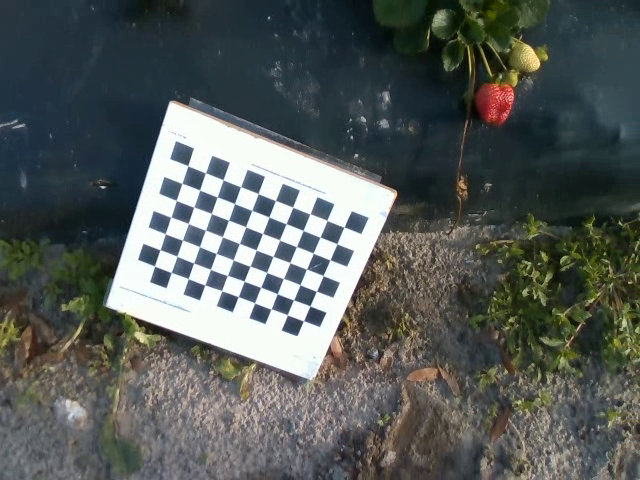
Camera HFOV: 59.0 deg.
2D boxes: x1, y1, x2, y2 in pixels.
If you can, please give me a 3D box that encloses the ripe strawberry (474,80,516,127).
[{"bbox_3d":[0.207,-0.156,0.657,0.047,0.050,0.035,1,12,1],"label":"ripe strawberry"}]
